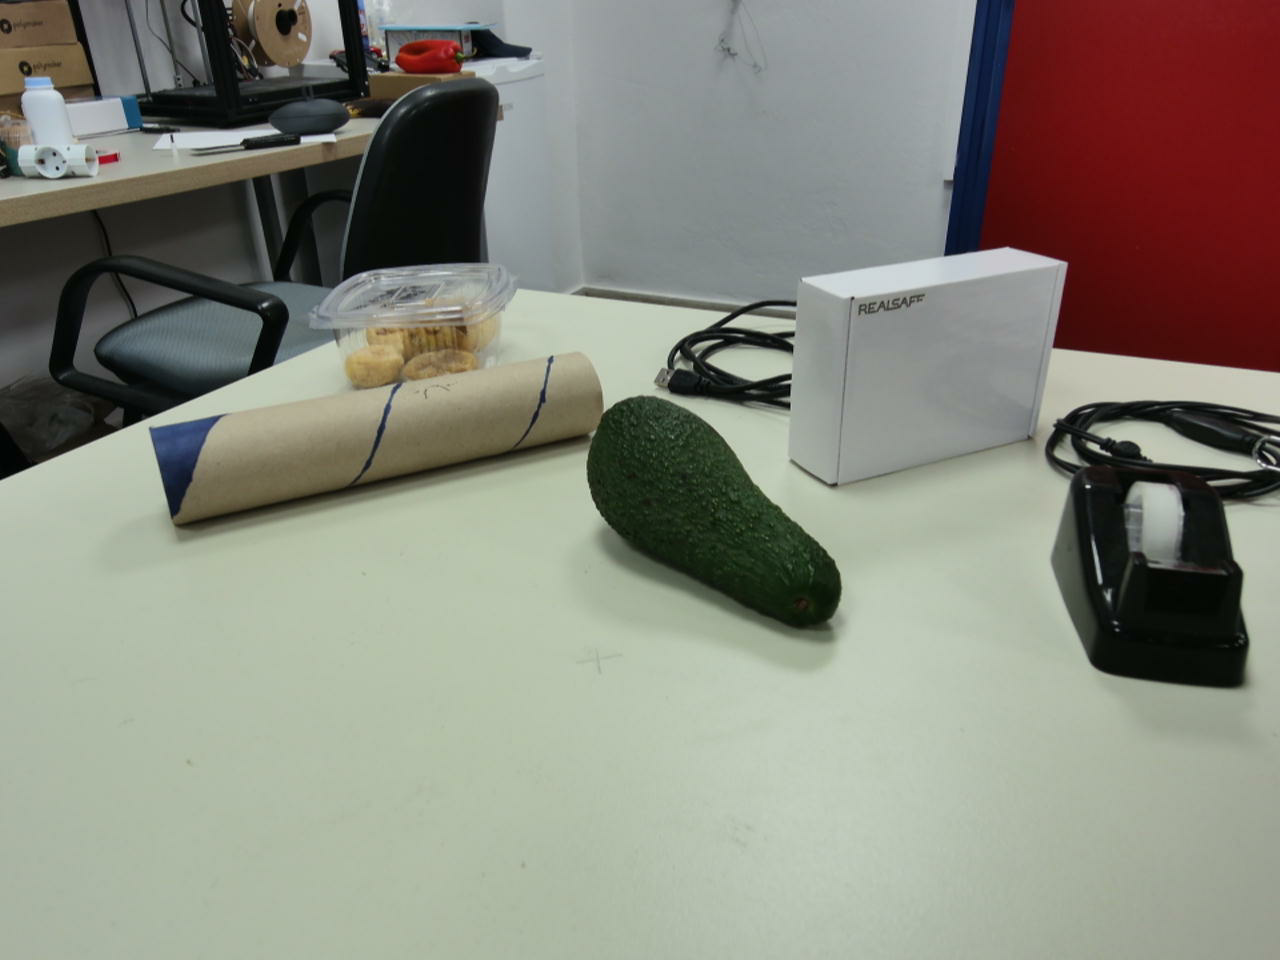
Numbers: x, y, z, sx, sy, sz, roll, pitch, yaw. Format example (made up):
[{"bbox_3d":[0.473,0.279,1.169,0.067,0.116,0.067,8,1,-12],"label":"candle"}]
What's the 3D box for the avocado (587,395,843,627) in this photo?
[{"bbox_3d":[0.032,0.007,0.421,0.141,0.067,0.063,19,30,37],"label":"avocado"}]
